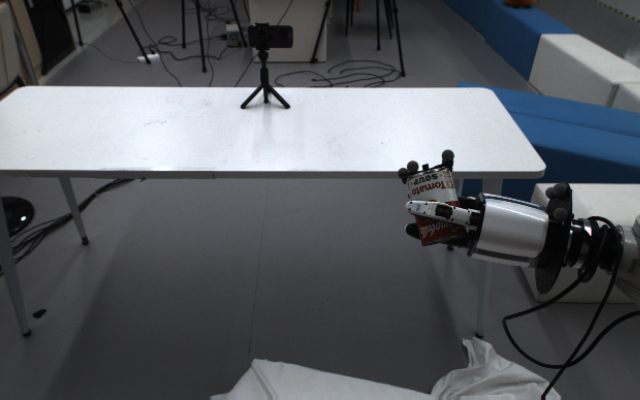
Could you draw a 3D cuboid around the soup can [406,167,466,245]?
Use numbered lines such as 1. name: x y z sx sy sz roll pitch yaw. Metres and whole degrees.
1. soup can: 0.172 0.011 0.711 0.067 0.067 0.101 -10 80 -16
